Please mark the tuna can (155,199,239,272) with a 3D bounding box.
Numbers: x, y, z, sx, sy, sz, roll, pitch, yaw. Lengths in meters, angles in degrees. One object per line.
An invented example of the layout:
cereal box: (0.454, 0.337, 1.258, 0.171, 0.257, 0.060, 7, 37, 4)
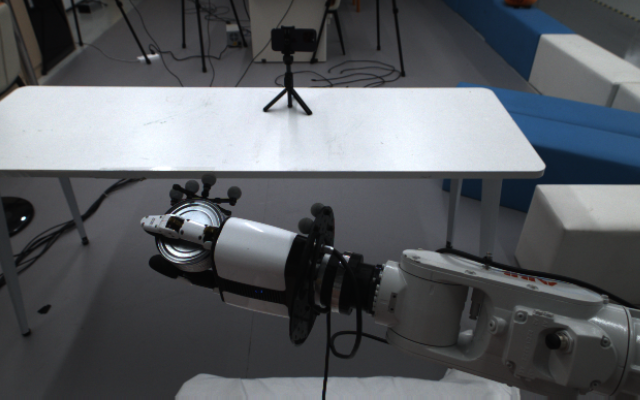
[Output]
tuna can: (-0.151, 0.043, 0.584, 0.085, 0.034, 0.085, -6, 58, 10)
